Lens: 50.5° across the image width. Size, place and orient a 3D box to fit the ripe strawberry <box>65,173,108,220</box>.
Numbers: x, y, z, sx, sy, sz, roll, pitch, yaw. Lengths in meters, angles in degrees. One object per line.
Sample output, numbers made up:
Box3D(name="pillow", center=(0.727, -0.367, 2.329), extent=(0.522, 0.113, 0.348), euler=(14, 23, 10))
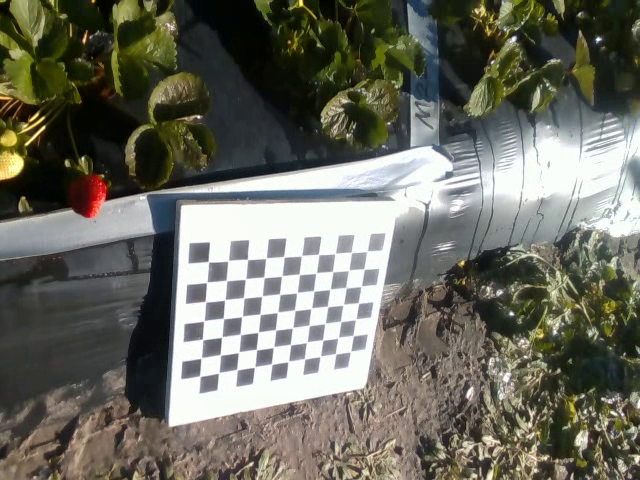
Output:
Box3D(name="ripe strawberry", center=(-0.181, -0.032, 0.532), extent=(0.036, 0.038, 0.046), euler=(-4, 36, -28))
